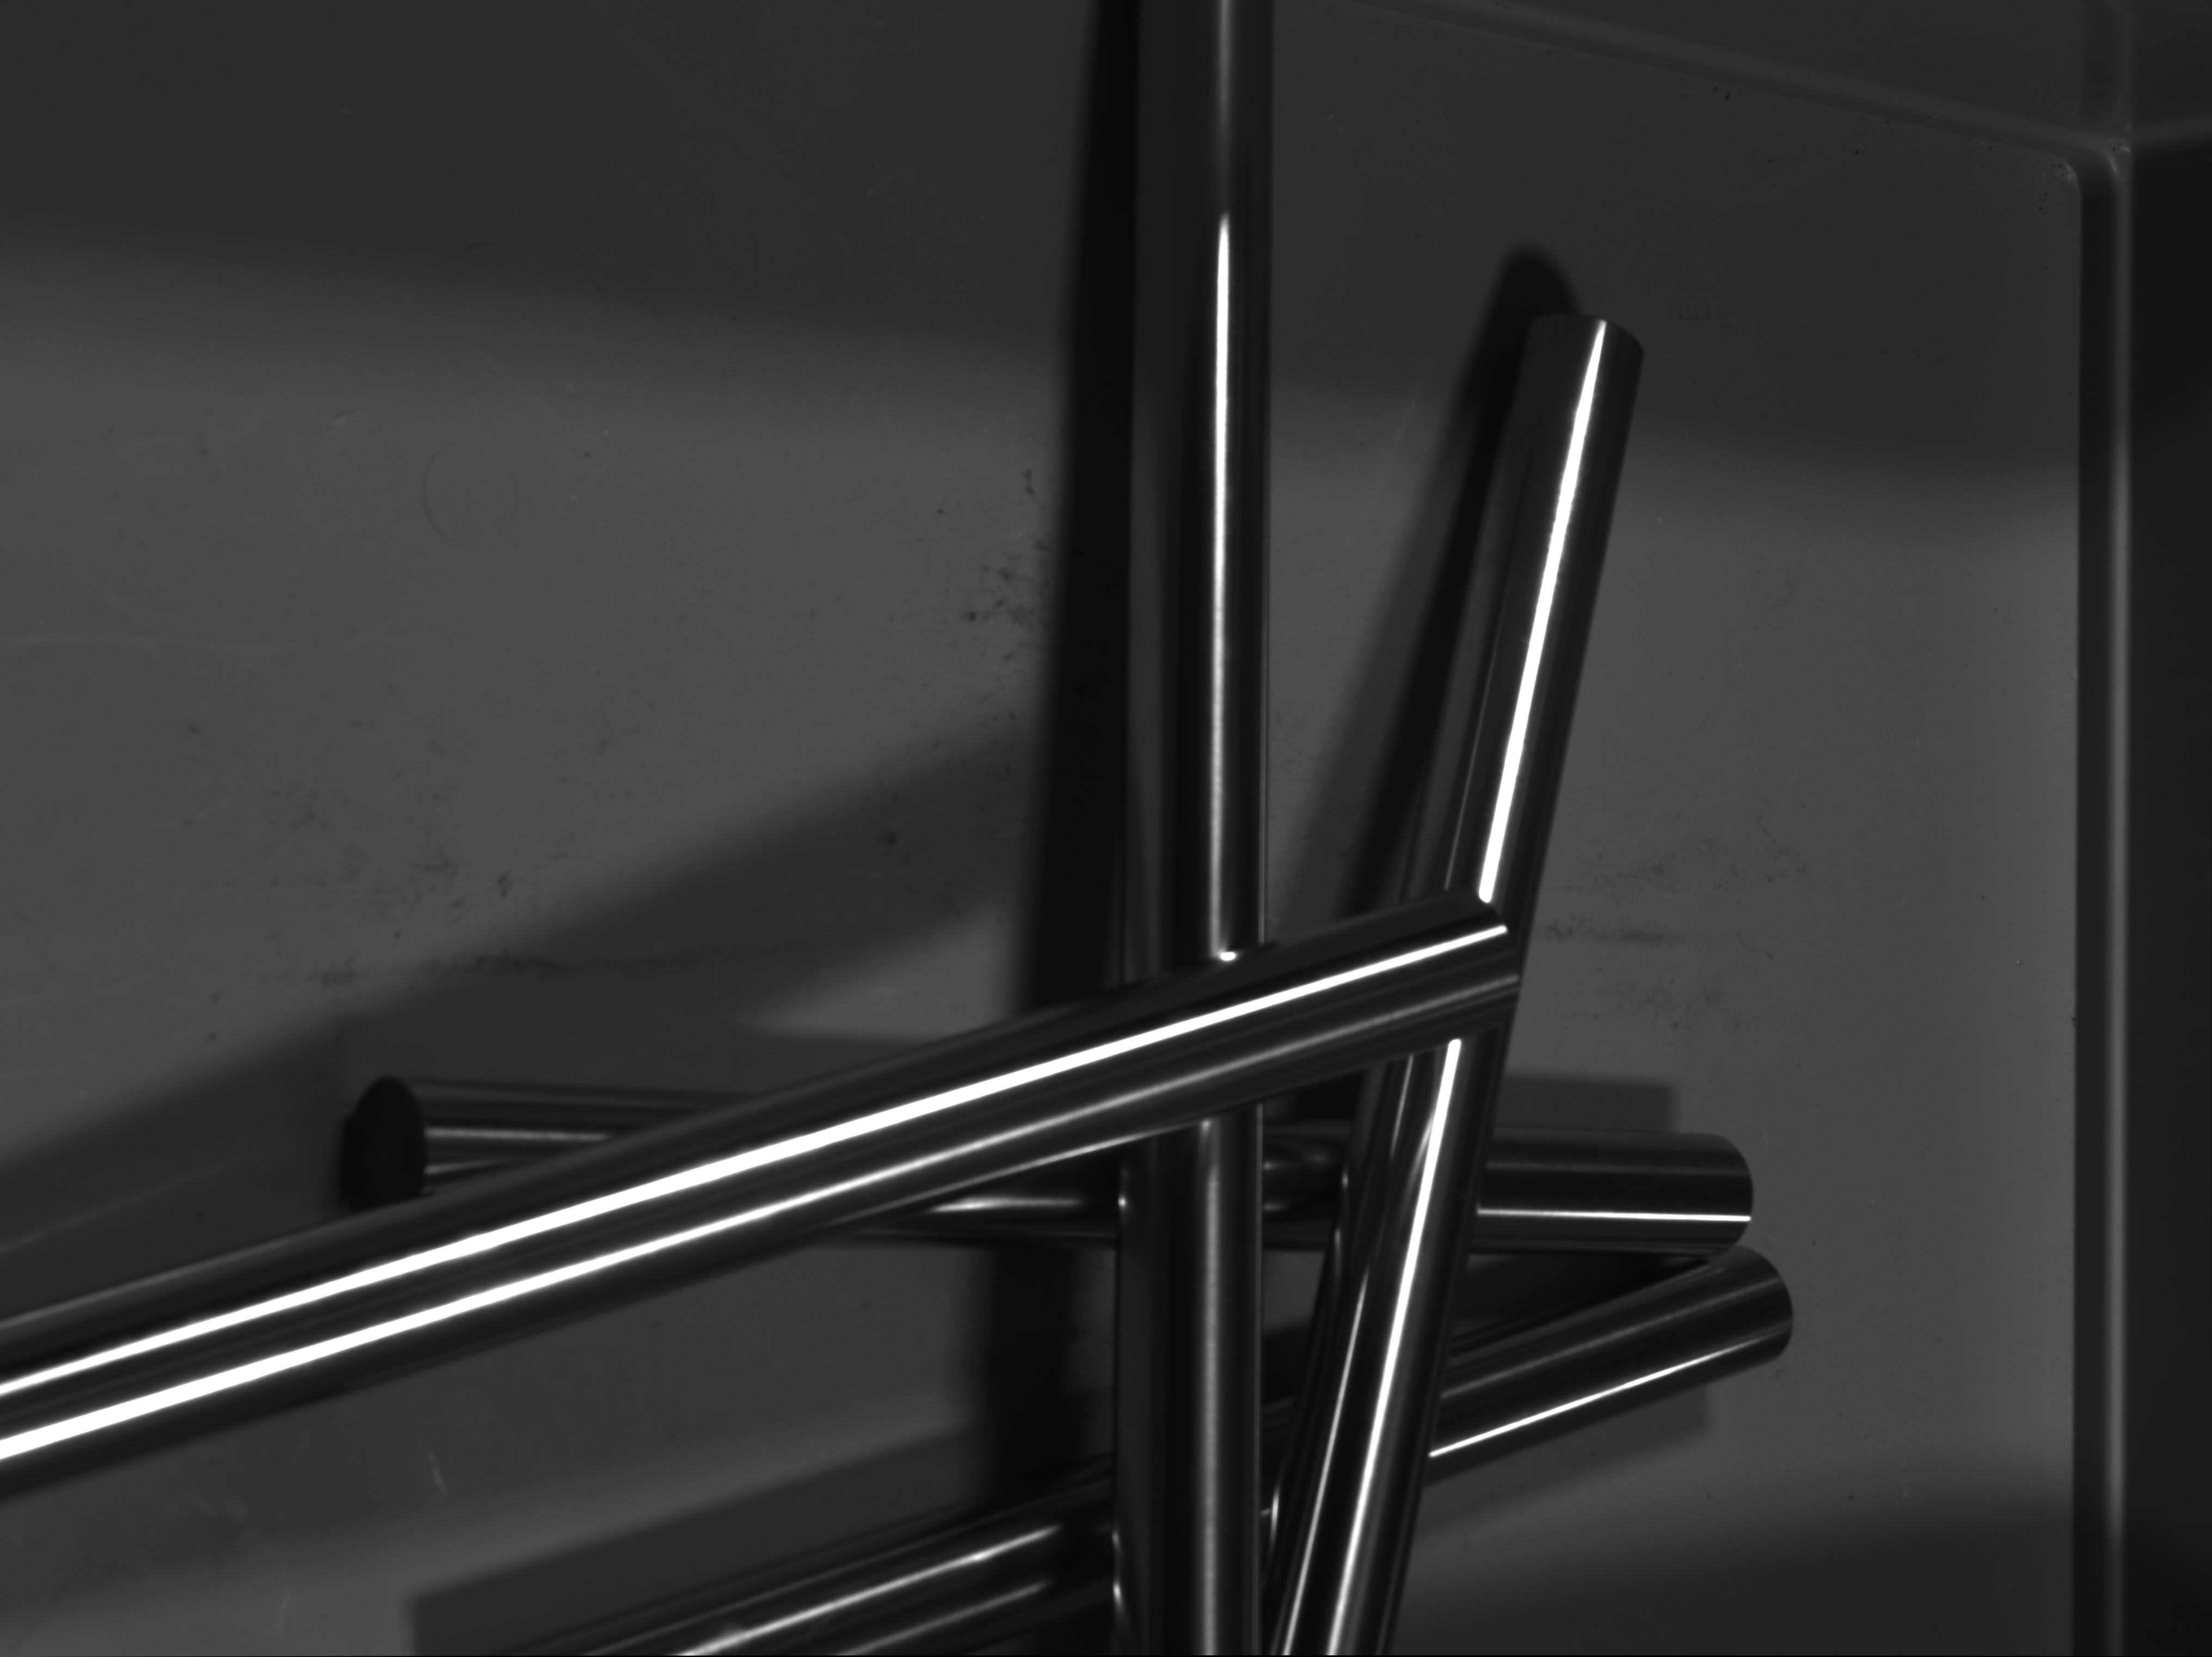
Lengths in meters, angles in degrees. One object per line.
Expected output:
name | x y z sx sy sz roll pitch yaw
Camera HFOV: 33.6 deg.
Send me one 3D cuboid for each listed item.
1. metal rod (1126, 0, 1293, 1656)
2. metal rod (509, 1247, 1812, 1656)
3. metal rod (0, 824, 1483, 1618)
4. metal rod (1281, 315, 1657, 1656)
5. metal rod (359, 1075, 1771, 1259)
metal rod | 0.018 -0.008 0.629 0.025 0.025 0.300 9 78 -39
metal rod | 0.020 0.119 0.652 0.301 0.025 0.025 -11 97 -39
metal rod | -0.062 0.058 0.552 0.301 0.025 0.025 -22 104 -32
metal rod | 0.062 0.042 0.661 0.025 0.025 0.300 30 63 -36
metal rod | 0.009 0.062 0.644 0.301 0.025 0.025 6 86 -40
